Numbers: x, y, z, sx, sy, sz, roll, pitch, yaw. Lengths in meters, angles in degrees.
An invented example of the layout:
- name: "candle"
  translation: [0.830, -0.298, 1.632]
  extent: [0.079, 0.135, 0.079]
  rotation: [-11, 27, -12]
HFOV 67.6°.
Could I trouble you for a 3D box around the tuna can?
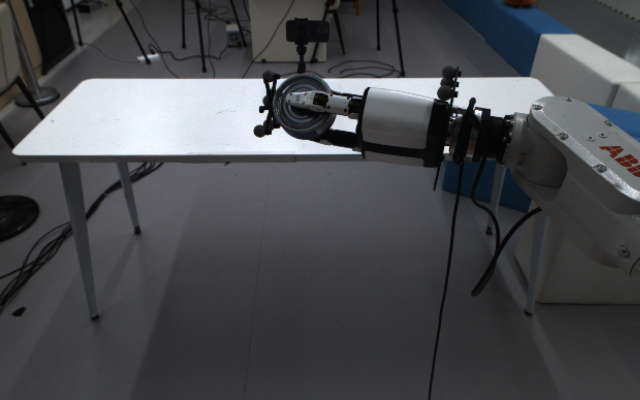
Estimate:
- name: "tuna can"
  translation: [-0.021, -0.130, 0.665]
  extent: [0.085, 0.085, 0.034]
  rotation: [9, -6, 10]
